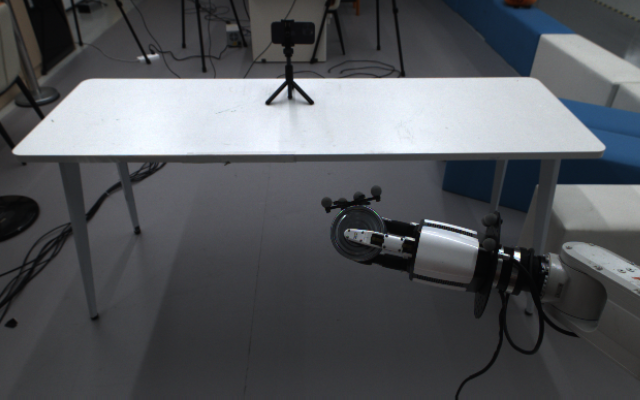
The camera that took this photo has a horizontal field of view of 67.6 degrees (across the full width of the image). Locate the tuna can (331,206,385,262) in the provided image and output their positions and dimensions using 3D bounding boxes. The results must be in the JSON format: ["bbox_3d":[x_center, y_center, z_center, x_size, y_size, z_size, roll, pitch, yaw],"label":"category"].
[{"bbox_3d":[0.063,0.057,0.741,0.085,0.085,0.034,12,-6,14],"label":"tuna can"}]
